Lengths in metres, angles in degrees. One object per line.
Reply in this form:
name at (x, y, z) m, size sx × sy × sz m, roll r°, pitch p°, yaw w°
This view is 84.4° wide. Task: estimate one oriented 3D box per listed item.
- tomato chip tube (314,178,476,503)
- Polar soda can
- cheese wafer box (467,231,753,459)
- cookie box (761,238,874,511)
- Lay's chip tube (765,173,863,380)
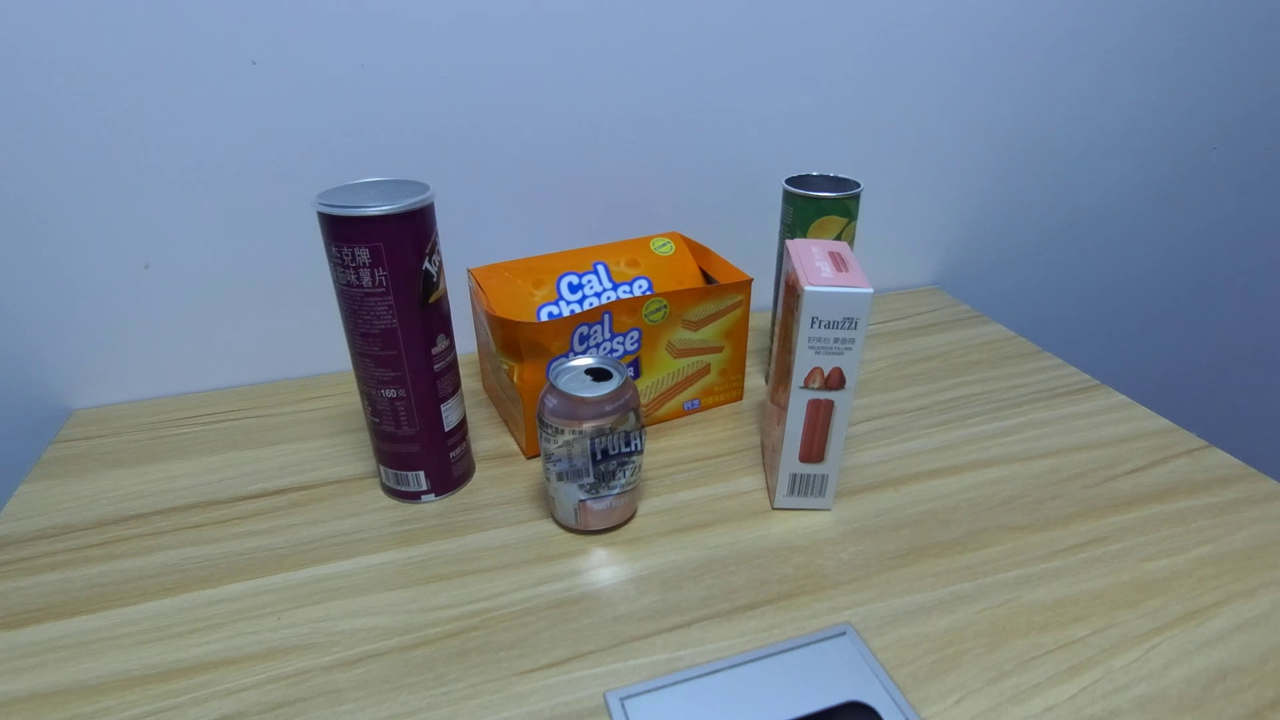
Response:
tomato chip tube at (-0.177, -0.008, 0.526) m, size 0.078 × 0.234 × 0.078 m, roll -1°, pitch 28°, yaw 1°
Polar soda can at (-0.033, 0.062, 0.513) m, size 0.074 × 0.122 × 0.067 m, roll 8°, pitch 30°, yaw 16°
cheese wafer box at (-0.030, -0.020, 0.659) m, size 0.231 × 0.132 × 0.151 m, roll -13°, pitch 32°, yaw -23°
cookie box at (0.128, 0.013, 0.532) m, size 0.048 × 0.185 × 0.096 m, roll 2°, pitch 29°, yaw 1°
Lay's chip tube at (0.159, -0.066, 0.657) m, size 0.071 × 0.203 × 0.071 m, roll 0°, pitch 28°, yaw 1°
